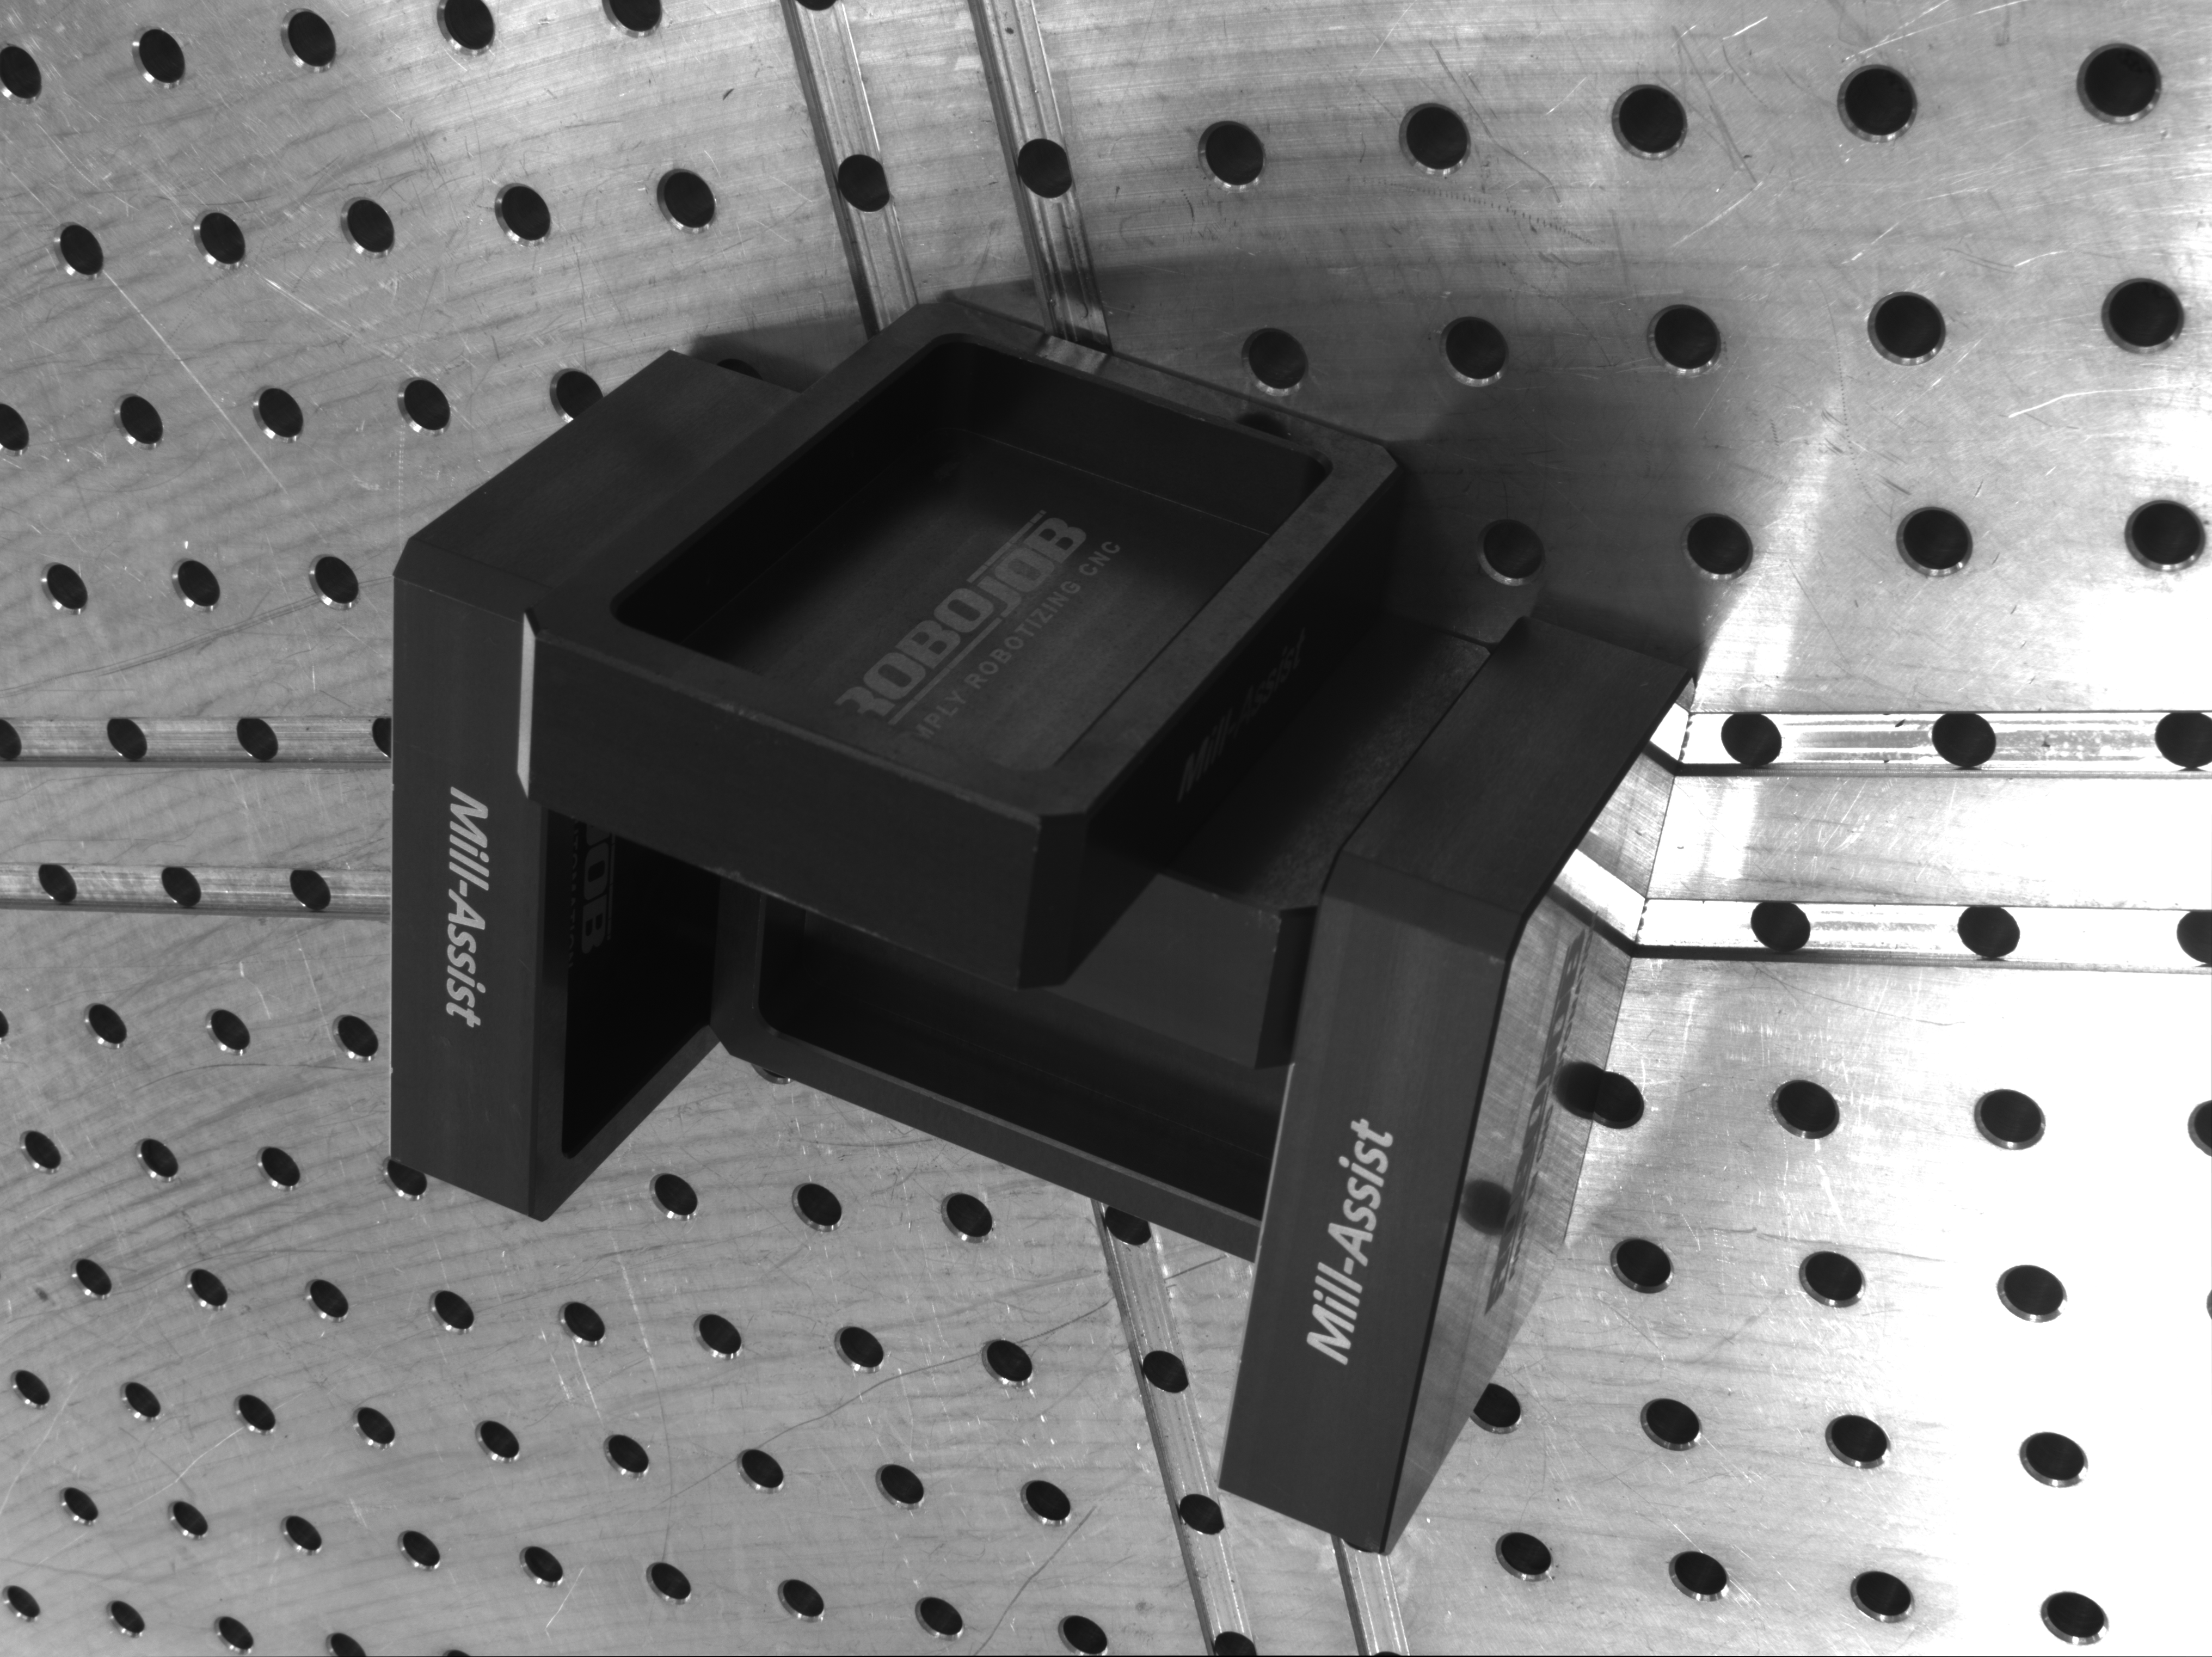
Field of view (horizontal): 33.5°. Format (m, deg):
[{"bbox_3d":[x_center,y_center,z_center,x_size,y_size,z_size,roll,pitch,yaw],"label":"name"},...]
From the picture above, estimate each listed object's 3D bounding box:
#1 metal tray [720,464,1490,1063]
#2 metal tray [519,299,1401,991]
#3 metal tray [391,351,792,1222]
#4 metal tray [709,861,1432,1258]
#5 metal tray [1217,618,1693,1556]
[{"bbox_3d":[-0.011,-0.017,0.600,0.130,0.090,0.030,20,126,16],"label":"metal tray"},{"bbox_3d":[-0.019,-0.033,0.568,0.090,0.130,0.030,20,126,16],"label":"metal tray"},{"bbox_3d":[-0.088,-0.007,0.647,0.030,0.090,0.130,19,126,17],"label":"metal tray"},{"bbox_3d":[-0.005,0.019,0.657,0.130,0.030,0.090,20,126,16],"label":"metal tray"},{"bbox_3d":[0.057,0.043,0.599,0.030,0.090,0.130,20,126,17],"label":"metal tray"}]
